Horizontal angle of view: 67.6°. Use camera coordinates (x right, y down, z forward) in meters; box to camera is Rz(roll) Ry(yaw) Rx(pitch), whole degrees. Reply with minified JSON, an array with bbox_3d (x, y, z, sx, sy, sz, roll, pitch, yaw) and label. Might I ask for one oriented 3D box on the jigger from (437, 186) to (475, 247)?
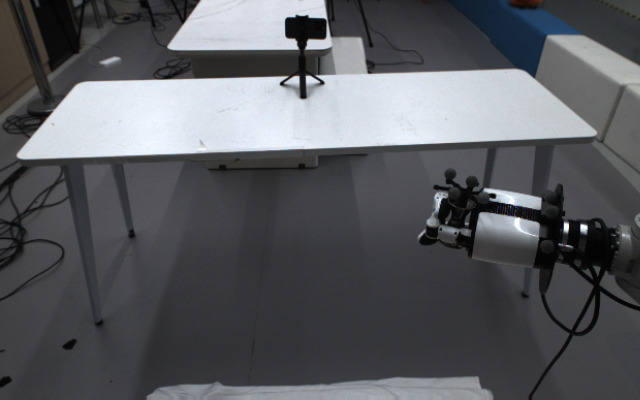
[{"bbox_3d":[0.206,0.032,0.726,0.043,0.071,0.043,6,26,-3],"label":"jigger"}]
